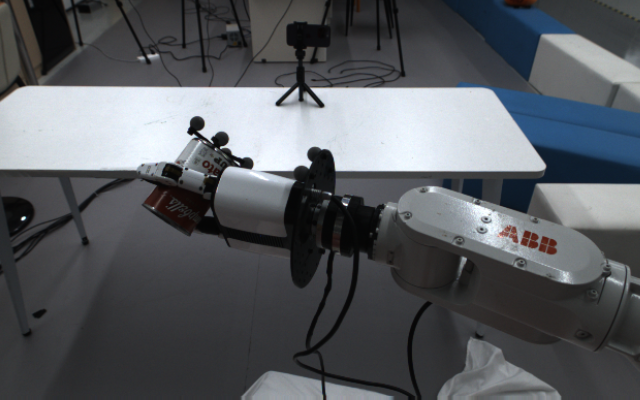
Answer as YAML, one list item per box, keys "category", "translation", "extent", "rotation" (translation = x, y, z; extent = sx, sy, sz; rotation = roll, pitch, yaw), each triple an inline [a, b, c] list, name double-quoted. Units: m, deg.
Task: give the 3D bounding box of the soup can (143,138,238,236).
- category: "soup can"
  translation: [-0.155, -0.015, 0.583]
  extent: [0.067, 0.067, 0.101]
  rotation: [24, 73, 28]
